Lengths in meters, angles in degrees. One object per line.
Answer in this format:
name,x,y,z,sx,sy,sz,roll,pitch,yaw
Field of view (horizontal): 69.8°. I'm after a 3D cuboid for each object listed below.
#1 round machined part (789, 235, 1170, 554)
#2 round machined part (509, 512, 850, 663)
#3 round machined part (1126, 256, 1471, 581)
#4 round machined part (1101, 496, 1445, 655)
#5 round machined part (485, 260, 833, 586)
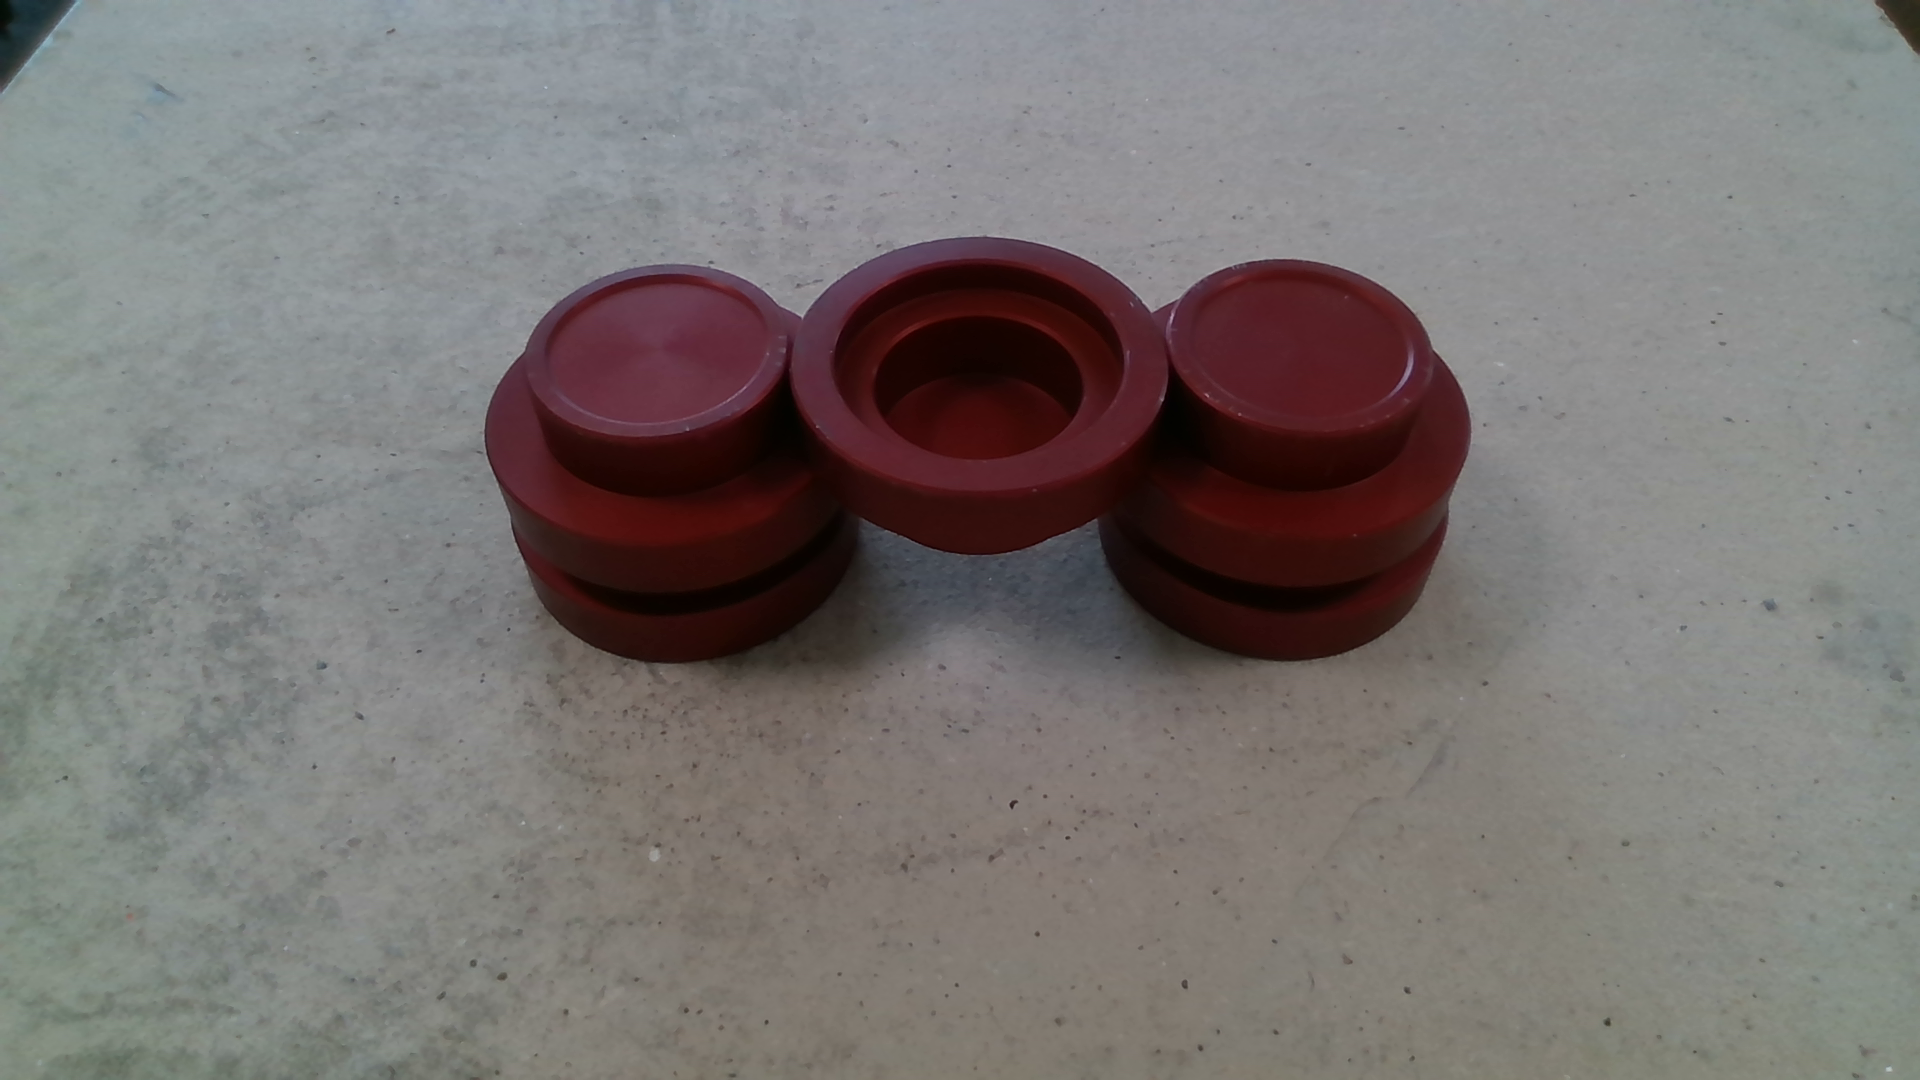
round machined part,0.005,-0.035,0.371,0.098,0.042,0.098,0,50,0
round machined part,-0.080,-0.016,0.398,0.098,0.042,0.098,1,49,-1
round machined part,0.088,-0.039,0.373,0.098,0.042,0.098,0,49,0
round machined part,0.091,-0.018,0.398,0.098,0.042,0.098,0,48,0
round machined part,-0.078,-0.038,0.371,0.098,0.042,0.098,0,49,0
